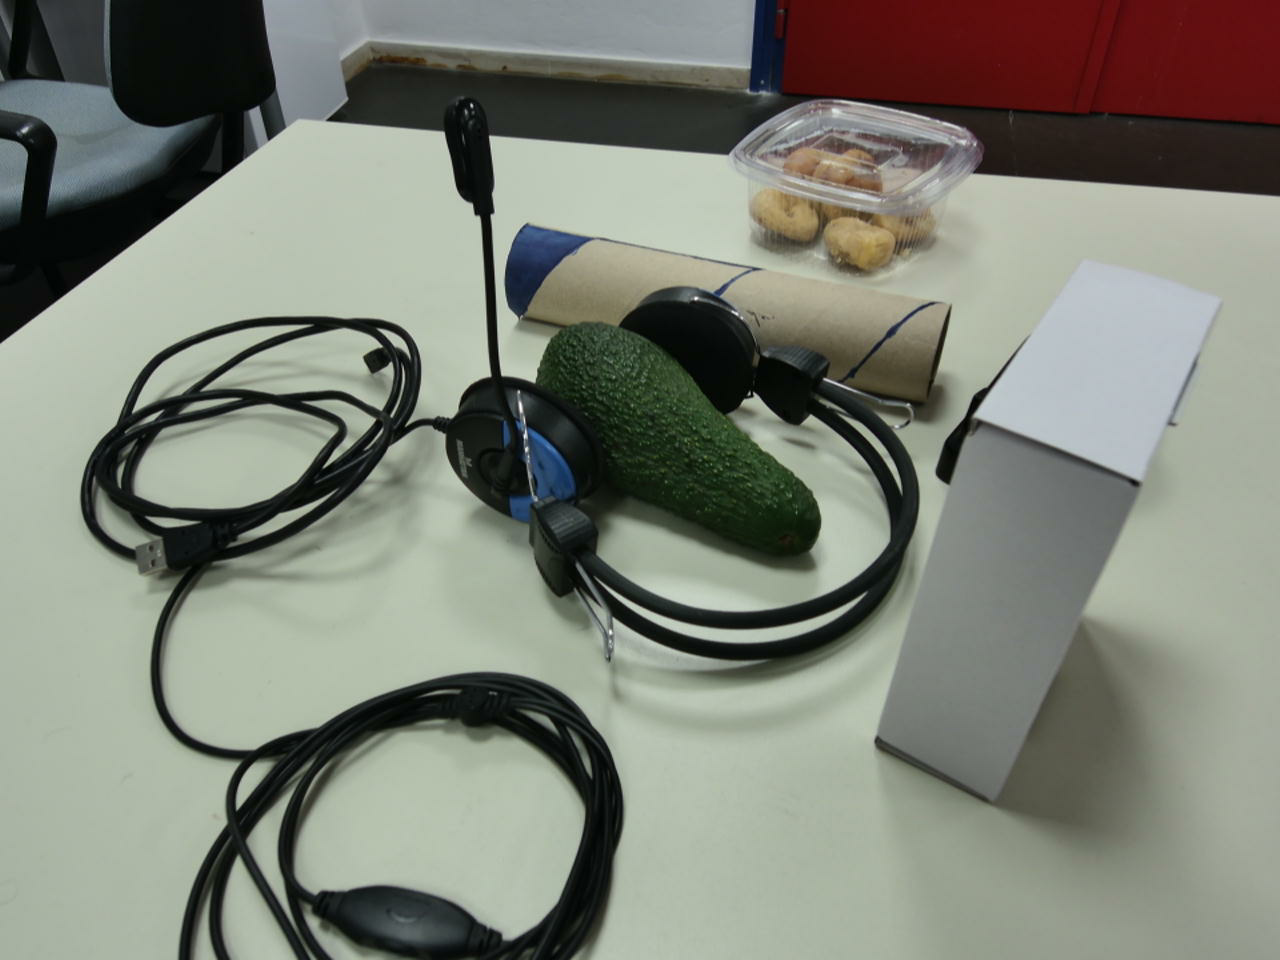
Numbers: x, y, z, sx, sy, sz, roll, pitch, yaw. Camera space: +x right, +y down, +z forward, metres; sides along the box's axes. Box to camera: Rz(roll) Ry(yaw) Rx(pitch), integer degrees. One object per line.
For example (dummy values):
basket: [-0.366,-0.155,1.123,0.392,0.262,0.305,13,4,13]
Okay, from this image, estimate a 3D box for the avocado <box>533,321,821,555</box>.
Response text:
avocado: [0.016,-0.023,0.416,0.141,0.067,0.063,19,42,23]
